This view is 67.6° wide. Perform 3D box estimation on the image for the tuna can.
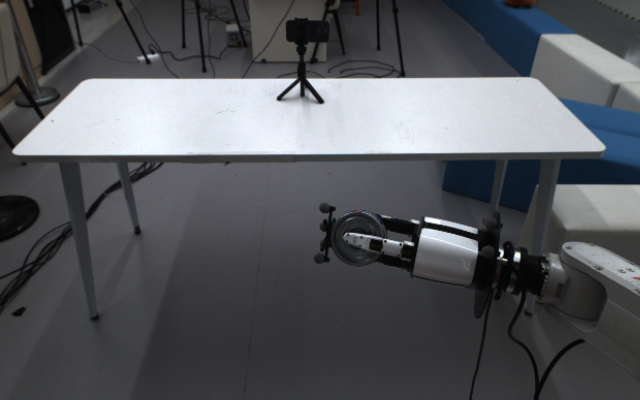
[{"bbox_3d":[0.063,0.061,0.741,0.085,0.085,0.034,10,2,11],"label":"tuna can"}]
